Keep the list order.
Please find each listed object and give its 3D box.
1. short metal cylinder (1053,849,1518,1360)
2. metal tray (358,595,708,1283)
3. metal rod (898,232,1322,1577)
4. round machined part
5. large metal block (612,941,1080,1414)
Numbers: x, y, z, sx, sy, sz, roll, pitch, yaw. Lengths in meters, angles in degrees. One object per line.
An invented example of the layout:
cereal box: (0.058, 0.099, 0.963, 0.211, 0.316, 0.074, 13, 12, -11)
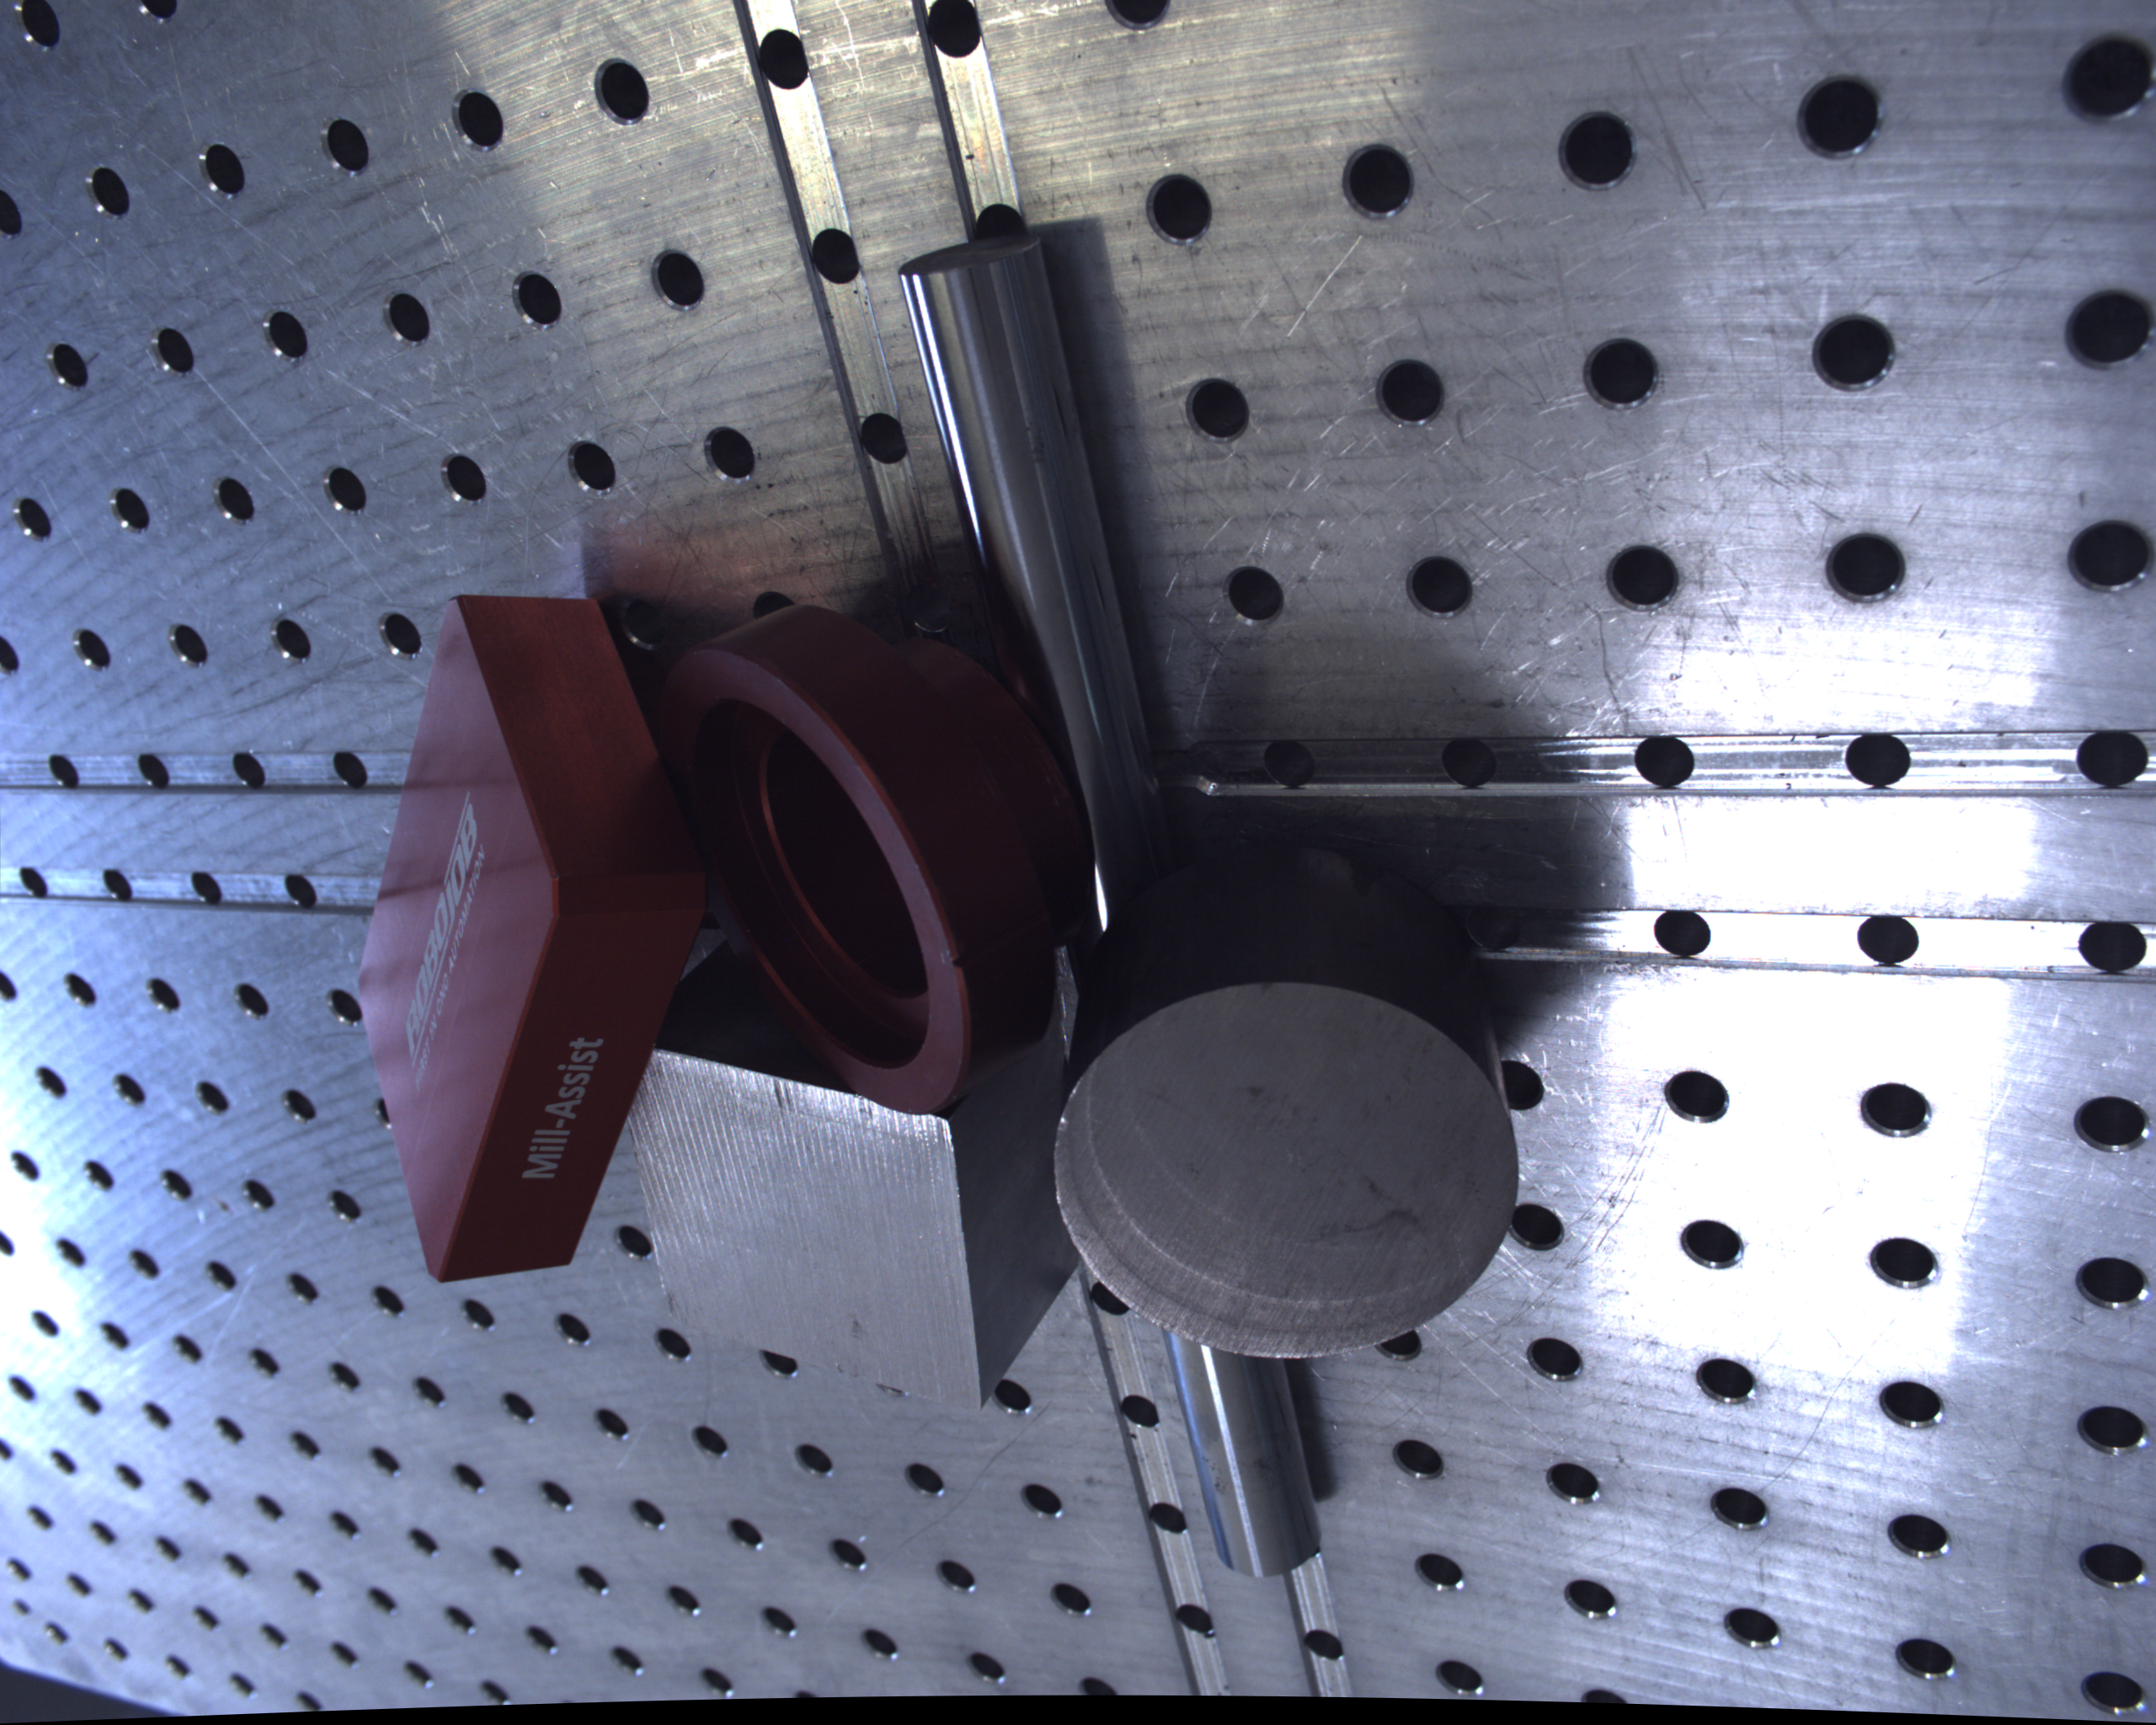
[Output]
short metal cylinder: (0.038, 0.044, 0.385, 0.080, 0.050, 0.079, 2, 117, 4)
metal tray: (-0.123, 0.018, 0.452, 0.090, 0.030, 0.129, 61, 139, 35)
metal rod: (0.013, 0.026, 0.421, 0.025, 0.025, 0.298, 1, 119, 28)
round machined part: (-0.036, -0.004, 0.400, 0.098, 0.042, 0.097, 36, 142, 36)
large metal block: (-0.049, 0.065, 0.461, 0.080, 0.050, 0.079, 10, 123, 23)
